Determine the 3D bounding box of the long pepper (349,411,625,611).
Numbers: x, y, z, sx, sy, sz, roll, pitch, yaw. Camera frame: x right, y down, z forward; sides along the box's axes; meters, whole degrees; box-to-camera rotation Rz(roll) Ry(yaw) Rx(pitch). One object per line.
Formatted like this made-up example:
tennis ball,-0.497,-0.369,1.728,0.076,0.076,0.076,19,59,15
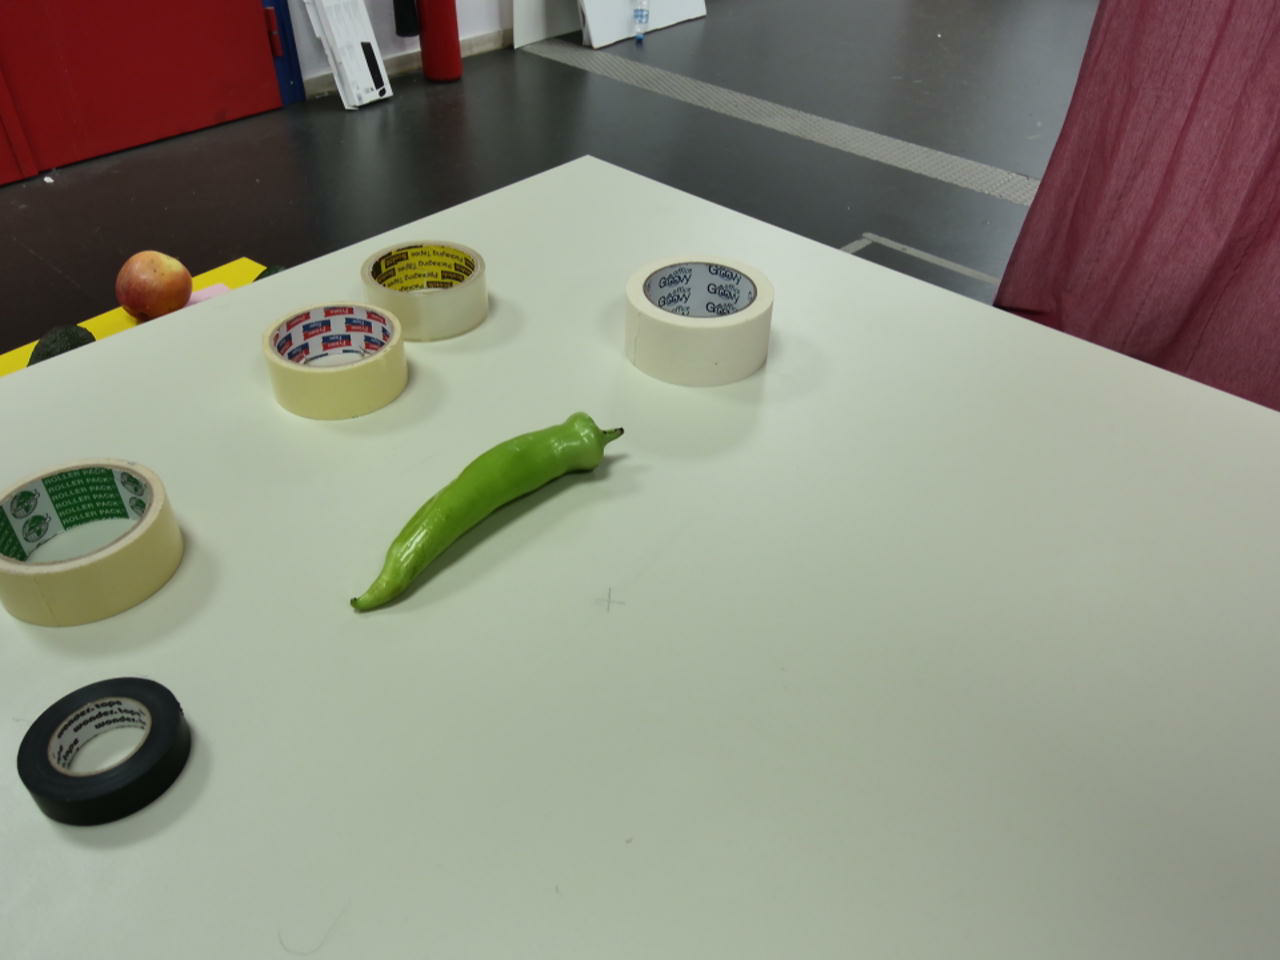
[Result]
long pepper,-0.088,0.008,0.570,0.047,0.038,0.197,31,46,32
